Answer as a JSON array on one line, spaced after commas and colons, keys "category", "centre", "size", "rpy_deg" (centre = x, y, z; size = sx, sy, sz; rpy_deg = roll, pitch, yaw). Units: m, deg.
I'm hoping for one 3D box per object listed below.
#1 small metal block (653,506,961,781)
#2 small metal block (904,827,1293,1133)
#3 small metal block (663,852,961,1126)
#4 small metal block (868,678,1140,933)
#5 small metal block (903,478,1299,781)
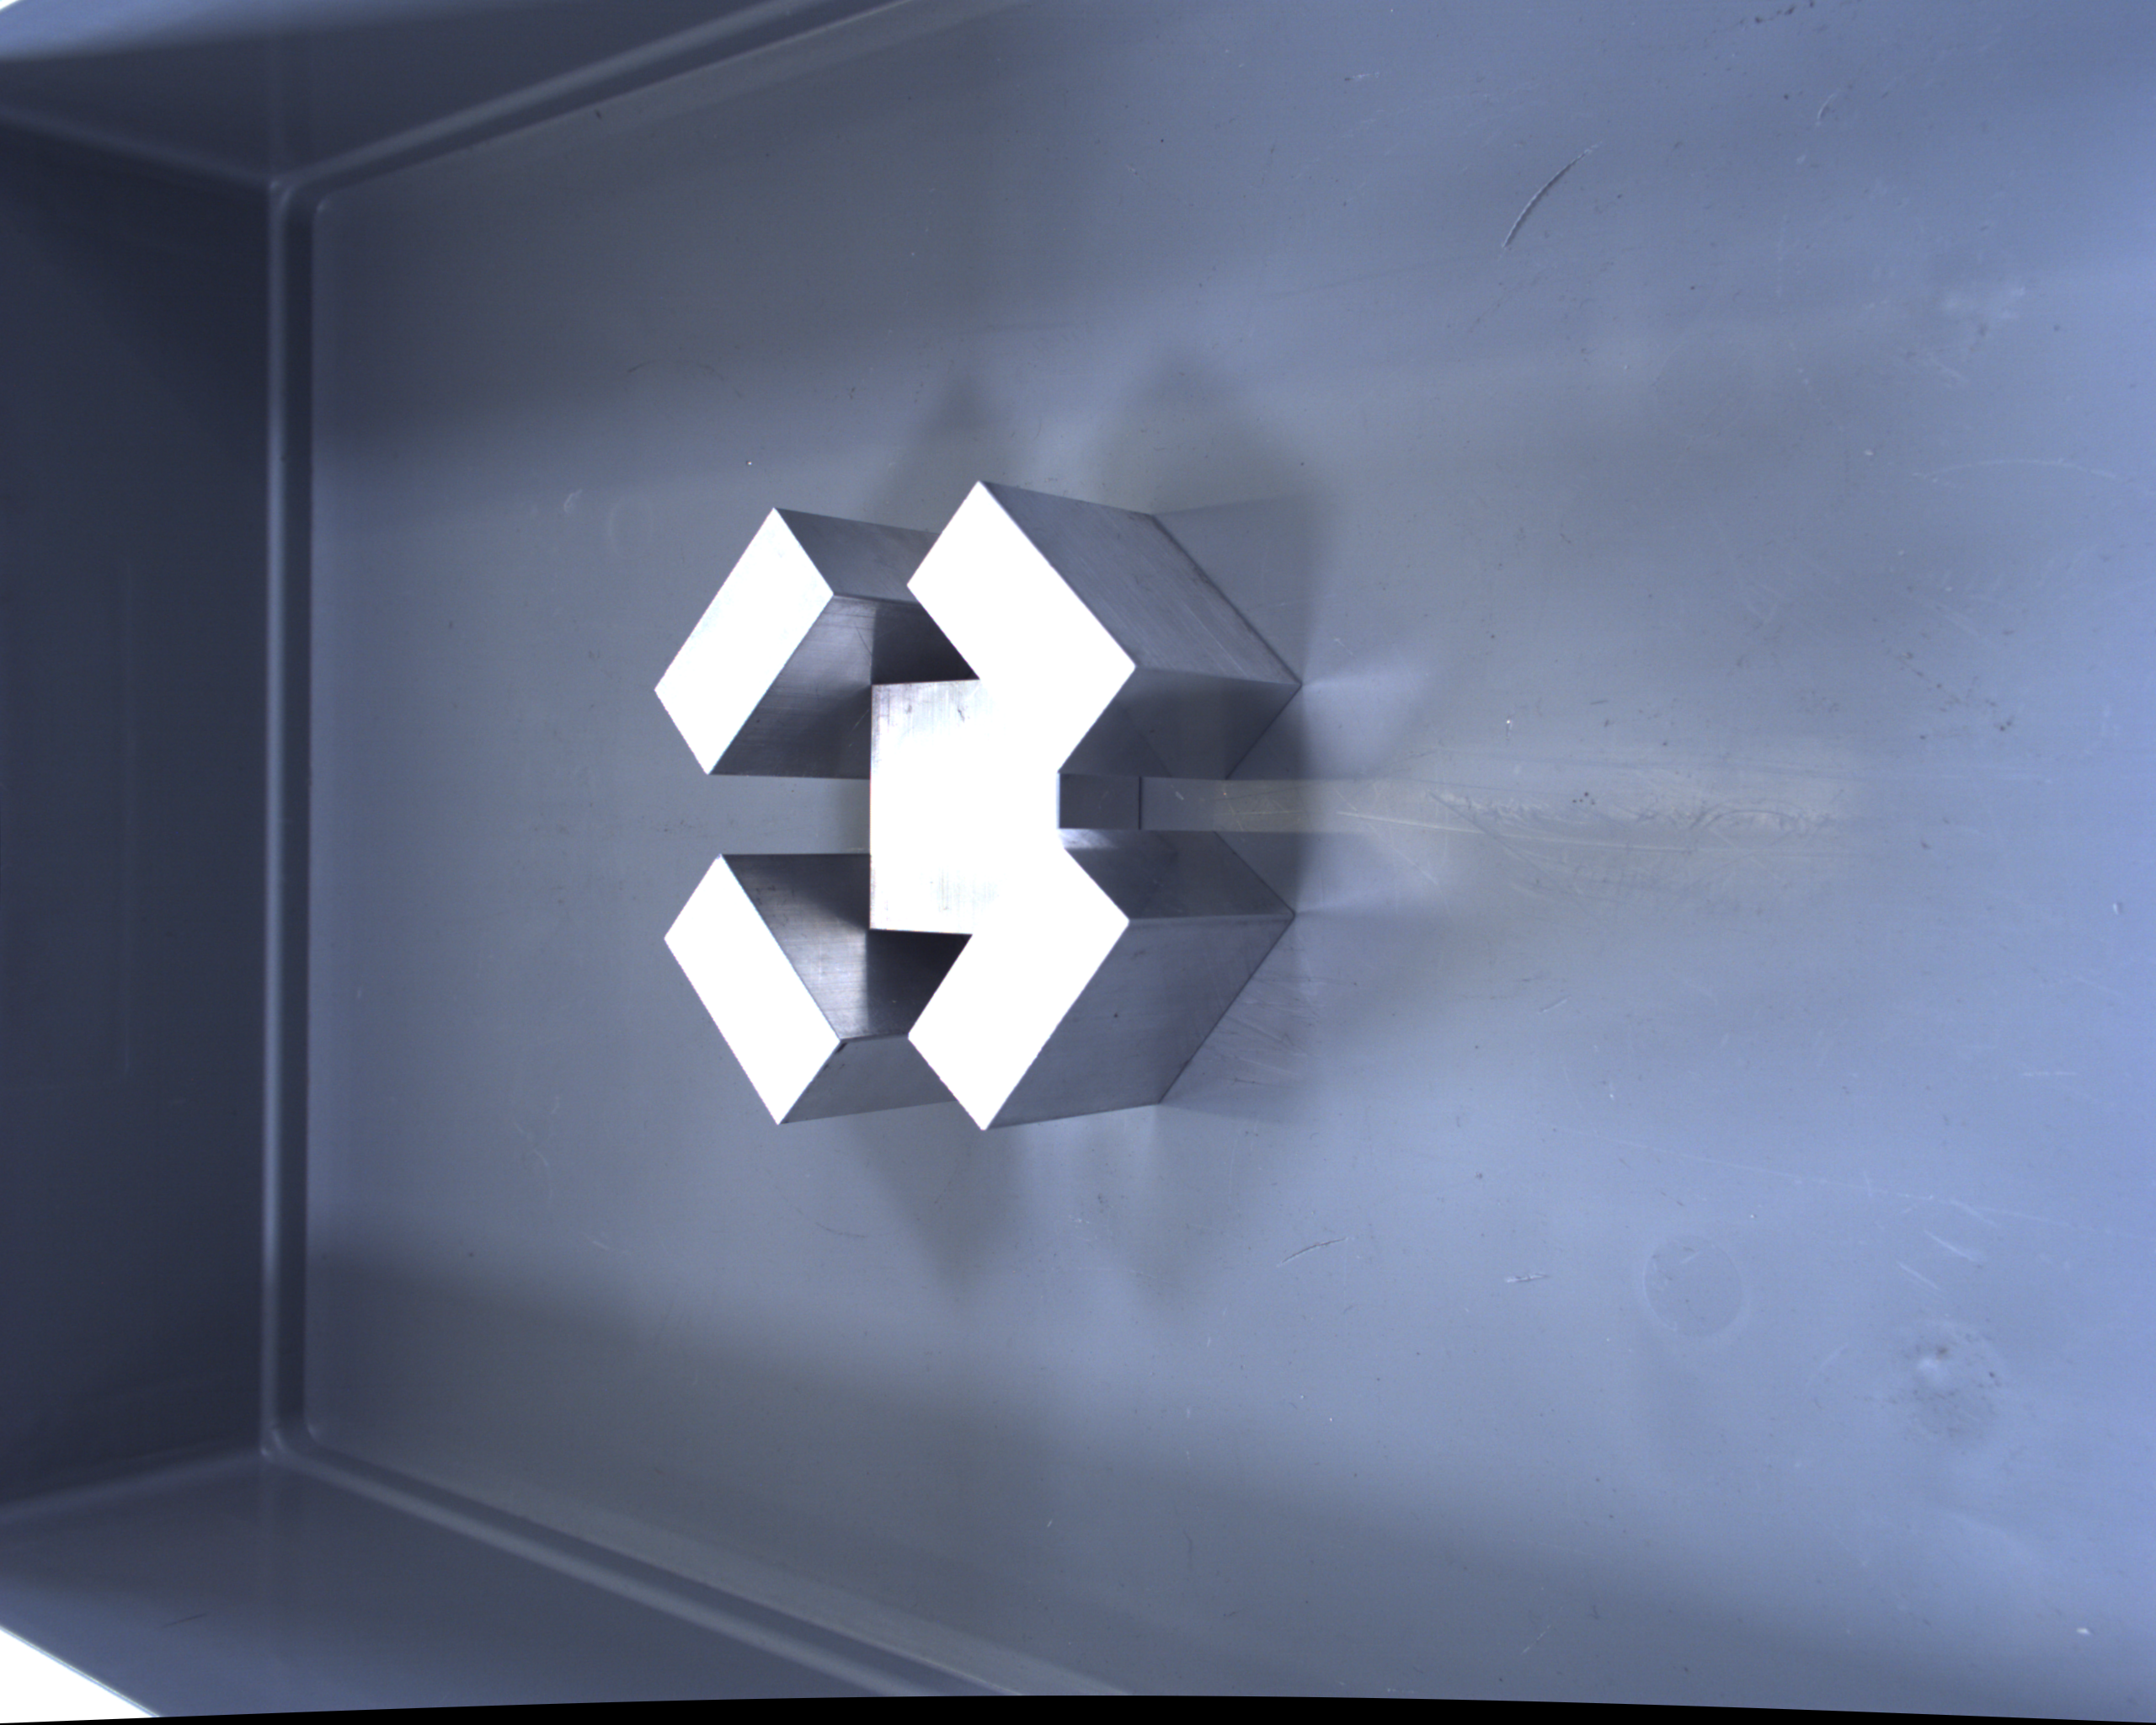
[{"category": "small metal block", "centre": [-0.050, -0.043, 0.429], "size": [0.050, 0.050, 0.025], "rpy_deg": [-50, 60, 29]}, {"category": "small metal block", "centre": [0.004, 0.021, 0.384], "size": [0.025, 0.050, 0.050], "rpy_deg": [47, 117, 28]}, {"category": "small metal block", "centre": [-0.048, 0.024, 0.428], "size": [0.050, 0.050, 0.025], "rpy_deg": [53, 122, 27]}, {"category": "small metal block", "centre": [-0.015, -0.011, 0.417], "size": [0.050, 0.025, 0.050], "rpy_deg": [1, 91, 40]}, {"category": "small metal block", "centre": [0.005, -0.042, 0.384], "size": [0.025, 0.050, 0.050], "rpy_deg": [-52, 61, 27]}]
